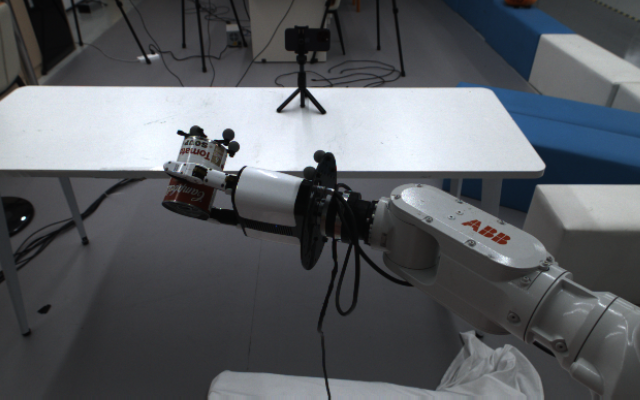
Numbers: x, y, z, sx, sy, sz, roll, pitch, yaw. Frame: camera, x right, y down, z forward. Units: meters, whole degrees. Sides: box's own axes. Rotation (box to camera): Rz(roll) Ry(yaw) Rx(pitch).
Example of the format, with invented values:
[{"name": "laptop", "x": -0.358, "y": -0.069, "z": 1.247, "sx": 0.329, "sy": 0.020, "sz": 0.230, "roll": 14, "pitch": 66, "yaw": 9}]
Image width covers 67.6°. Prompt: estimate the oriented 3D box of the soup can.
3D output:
[{"name": "soup can", "x": -0.177, "y": -0.030, "z": 0.691, "sx": 0.067, "sy": 0.067, "sz": 0.101, "roll": 9, "pitch": 72, "yaw": 10}]
